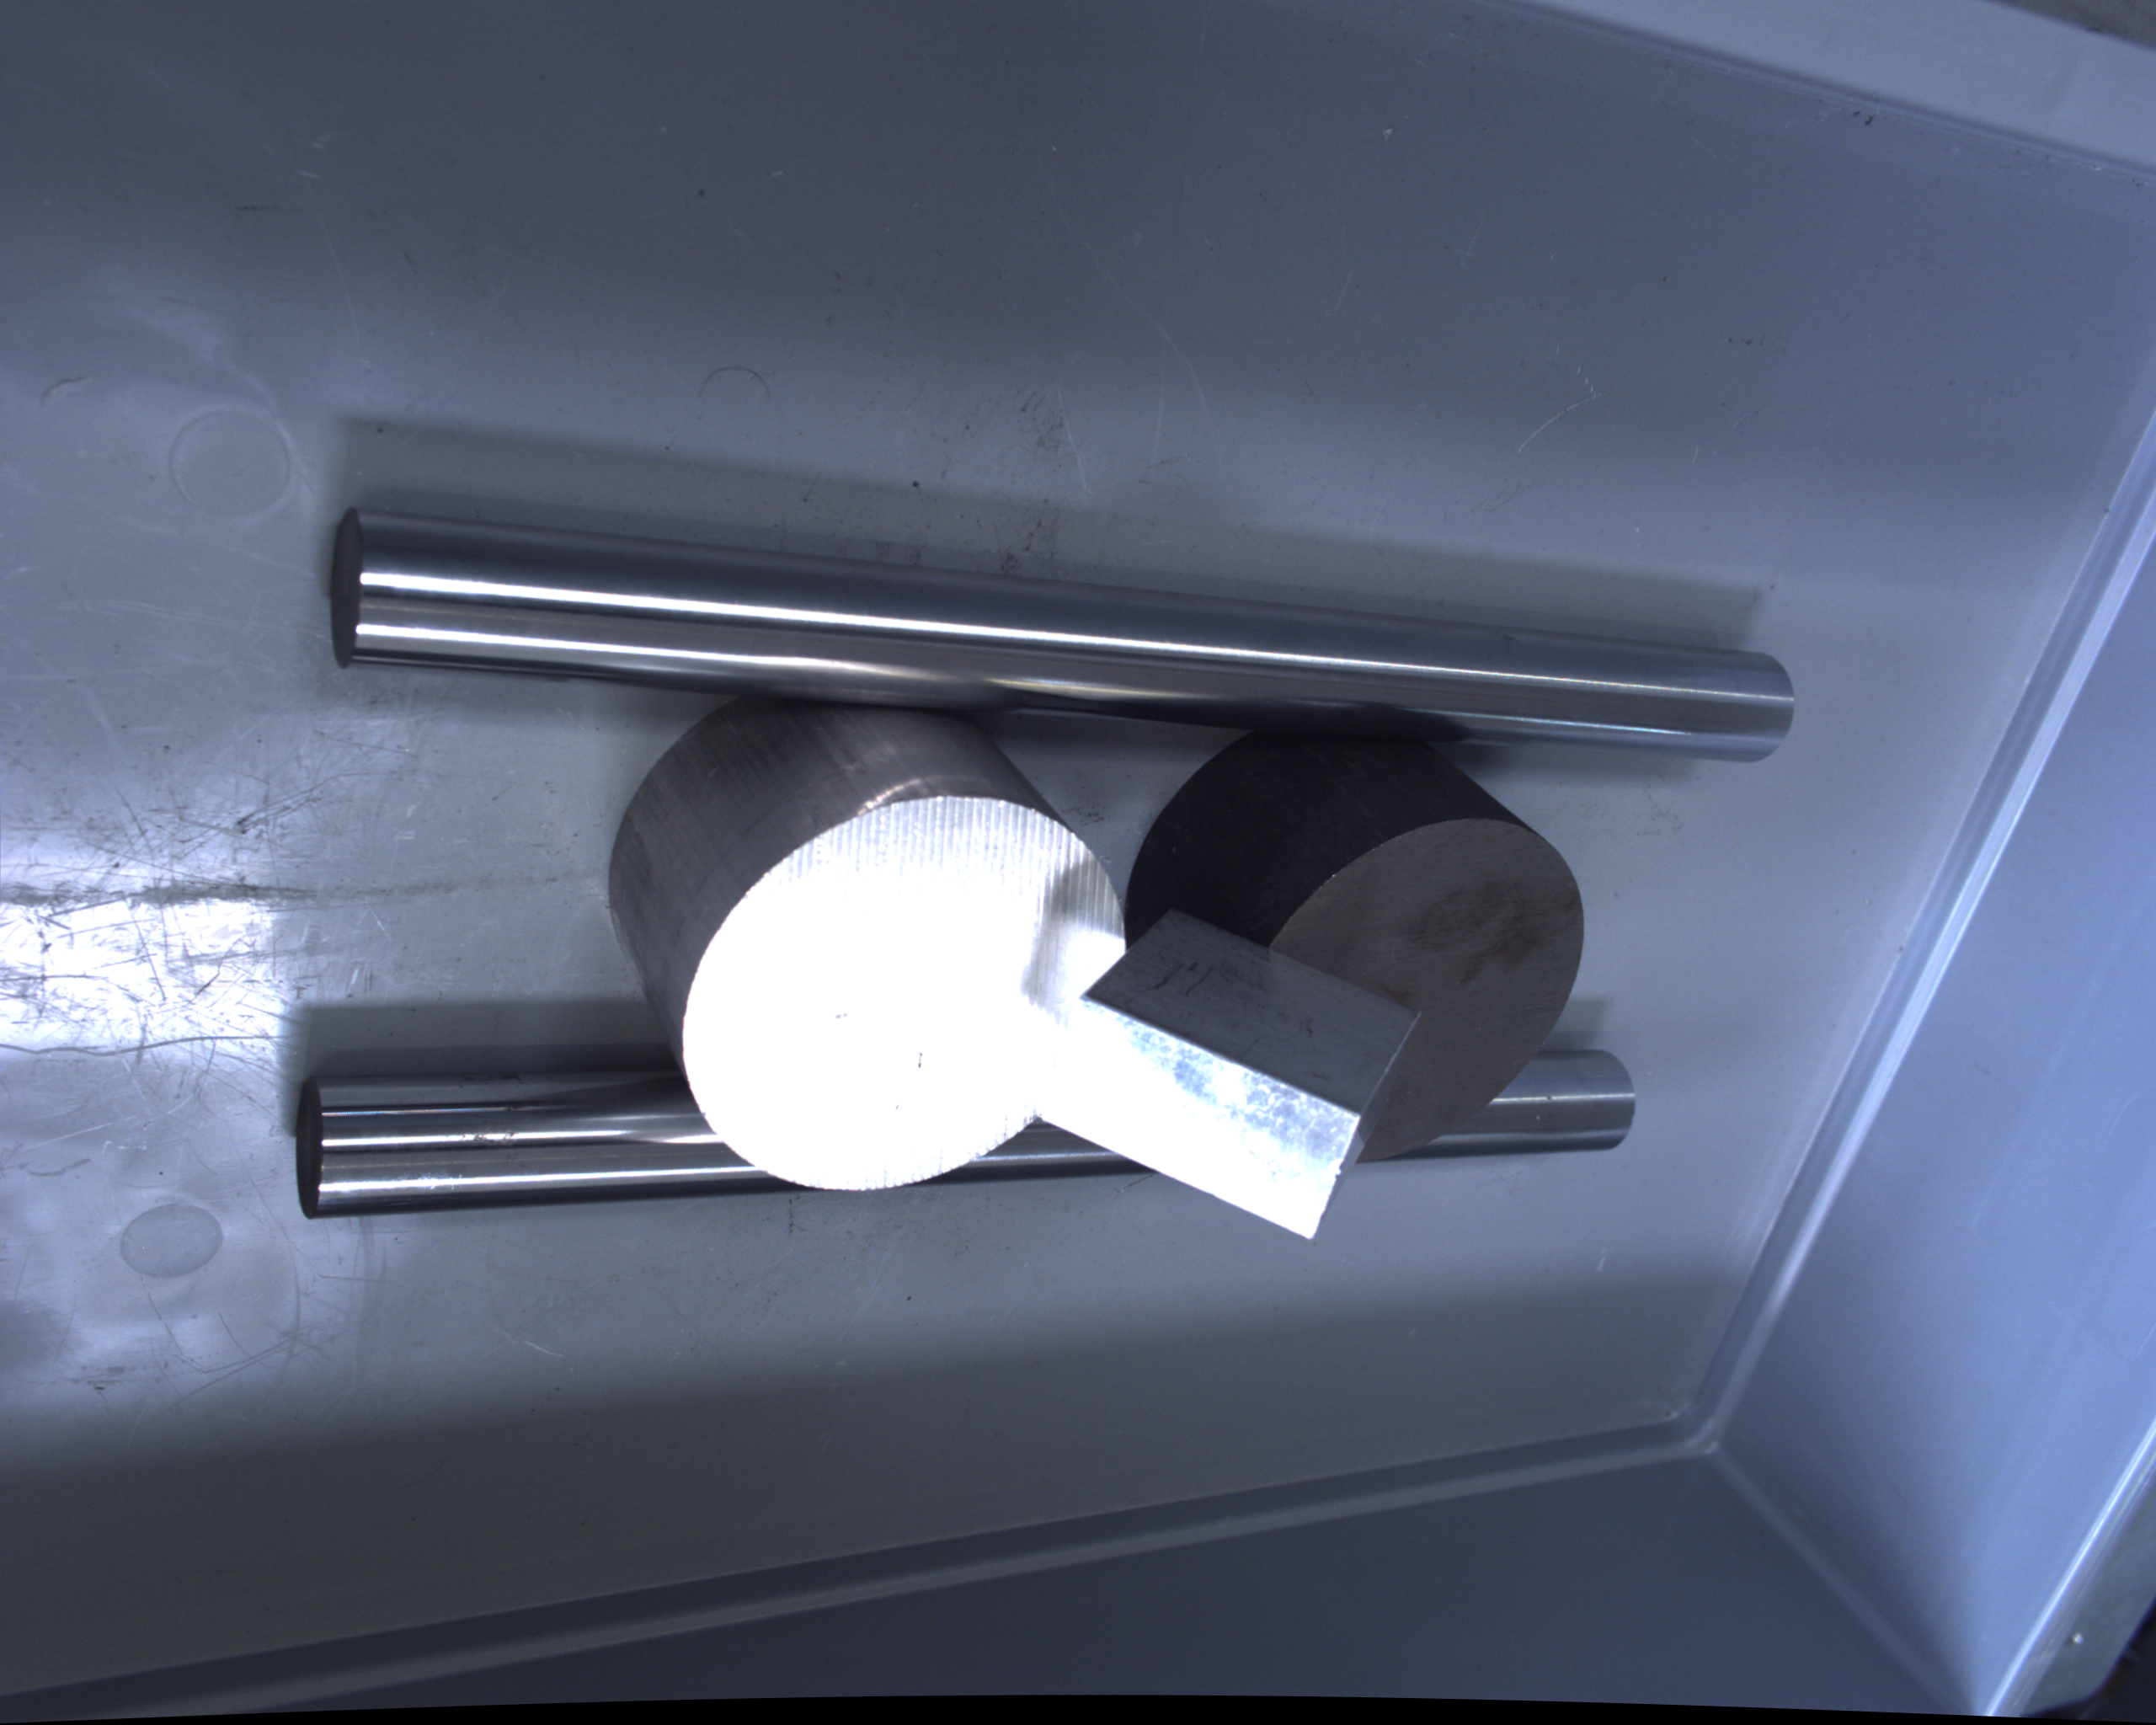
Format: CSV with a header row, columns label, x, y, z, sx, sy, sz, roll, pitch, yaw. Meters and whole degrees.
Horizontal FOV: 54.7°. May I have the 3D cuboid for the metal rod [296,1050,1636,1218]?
label,x,y,z,sx,sy,sz,roll,pitch,yaw
metal rod,-0.003,0.054,0.439,0.303,0.025,0.025,2,118,-30

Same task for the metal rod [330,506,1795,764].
label,x,y,z,sx,sy,sz,roll,pitch,yaw
metal rod,0.019,-0.038,0.394,0.303,0.025,0.025,2,118,-29

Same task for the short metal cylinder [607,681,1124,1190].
label,x,y,z,sx,sy,sz,roll,pitch,yaw
short metal cylinder,-0.039,0.012,0.377,0.081,0.050,0.079,-14,124,-21

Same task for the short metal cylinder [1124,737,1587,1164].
label,x,y,z,sx,sy,sz,roll,pitch,yaw
short metal cylinder,0.057,0.015,0.431,0.081,0.050,0.079,-14,124,-21

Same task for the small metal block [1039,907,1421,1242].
label,x,y,z,sx,sy,sz,roll,pitch,yaw
small metal block,0.028,0.036,0.368,0.050,0.050,0.025,-40,149,-64
